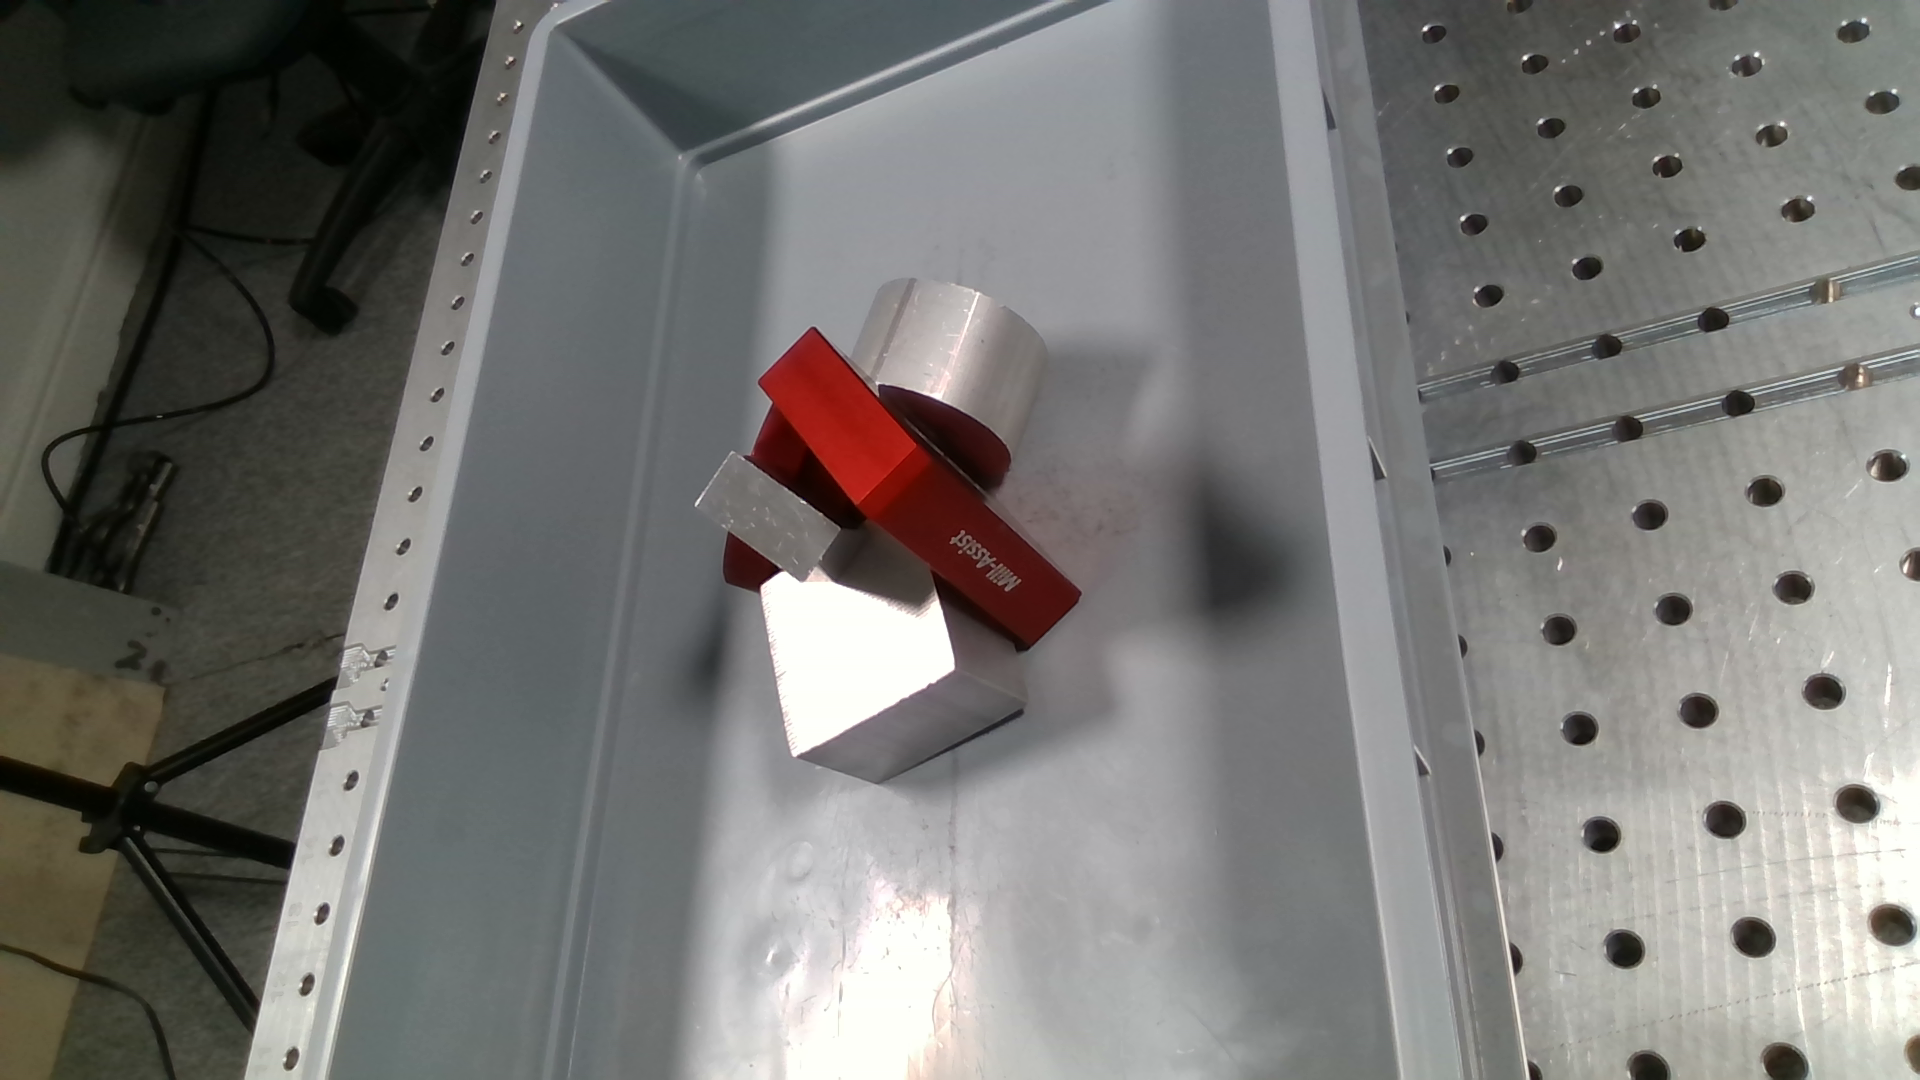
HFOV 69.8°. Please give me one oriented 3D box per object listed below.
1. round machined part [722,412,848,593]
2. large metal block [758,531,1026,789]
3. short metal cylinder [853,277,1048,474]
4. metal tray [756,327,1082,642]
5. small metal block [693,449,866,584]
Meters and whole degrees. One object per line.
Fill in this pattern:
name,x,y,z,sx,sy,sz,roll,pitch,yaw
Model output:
round machined part,-0.067,-0.021,0.601,0.042,0.098,0.098,19,73,0
large metal block,-0.029,0.042,0.554,0.080,0.050,0.080,-30,53,21
short metal cylinder,-0.008,-0.069,0.590,0.080,0.080,0.050,9,70,35
metal tray,-0.013,-0.019,0.534,0.030,0.130,0.090,-45,51,5
small metal block,-0.067,-0.008,0.525,0.050,0.050,0.025,35,94,7
